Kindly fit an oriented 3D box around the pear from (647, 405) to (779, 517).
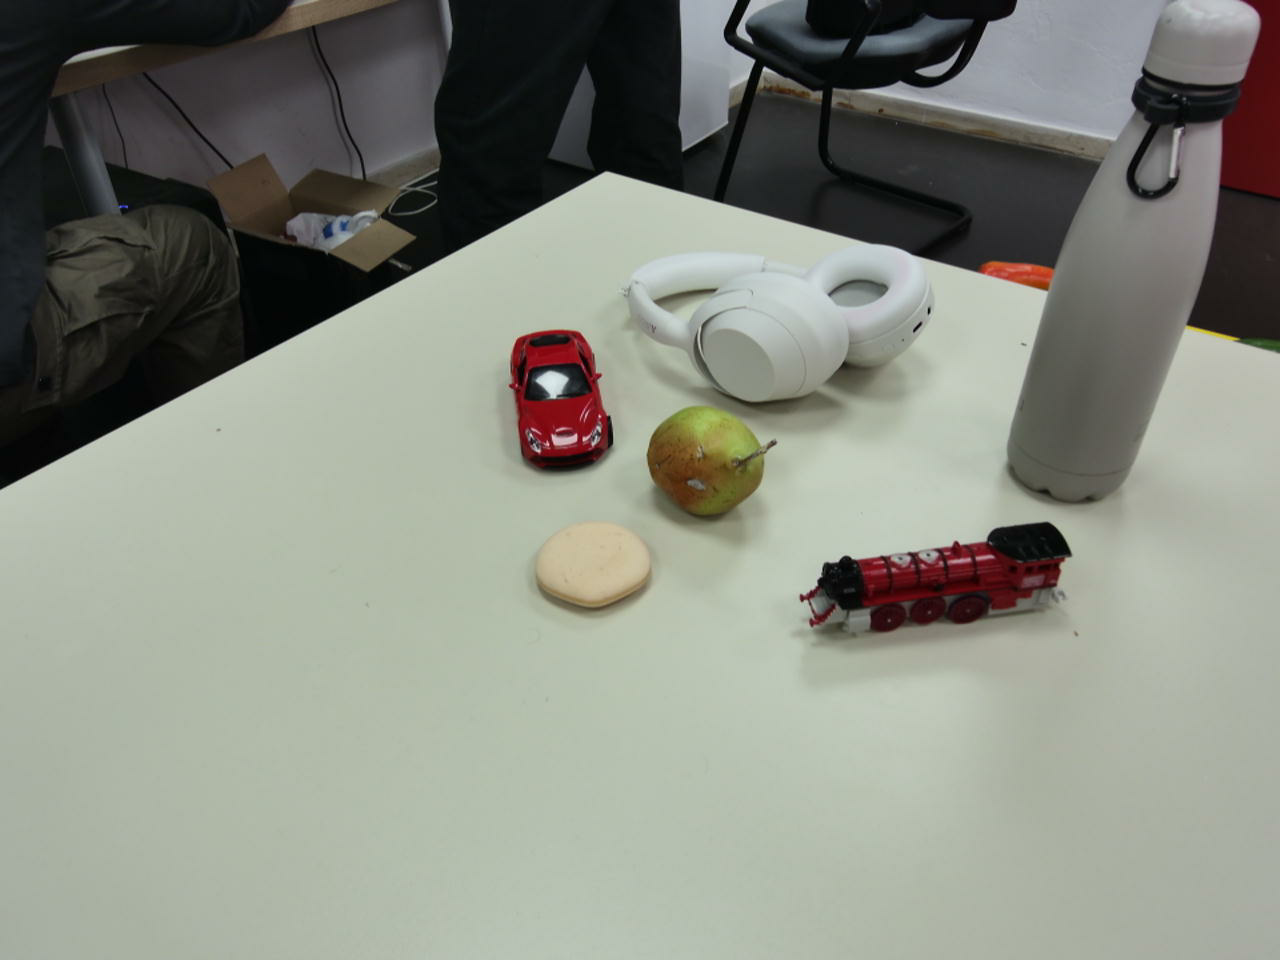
[{"bbox_3d":[0.039,-0.013,0.585,0.068,0.069,0.070,0,38,-1],"label":"pear"}]
